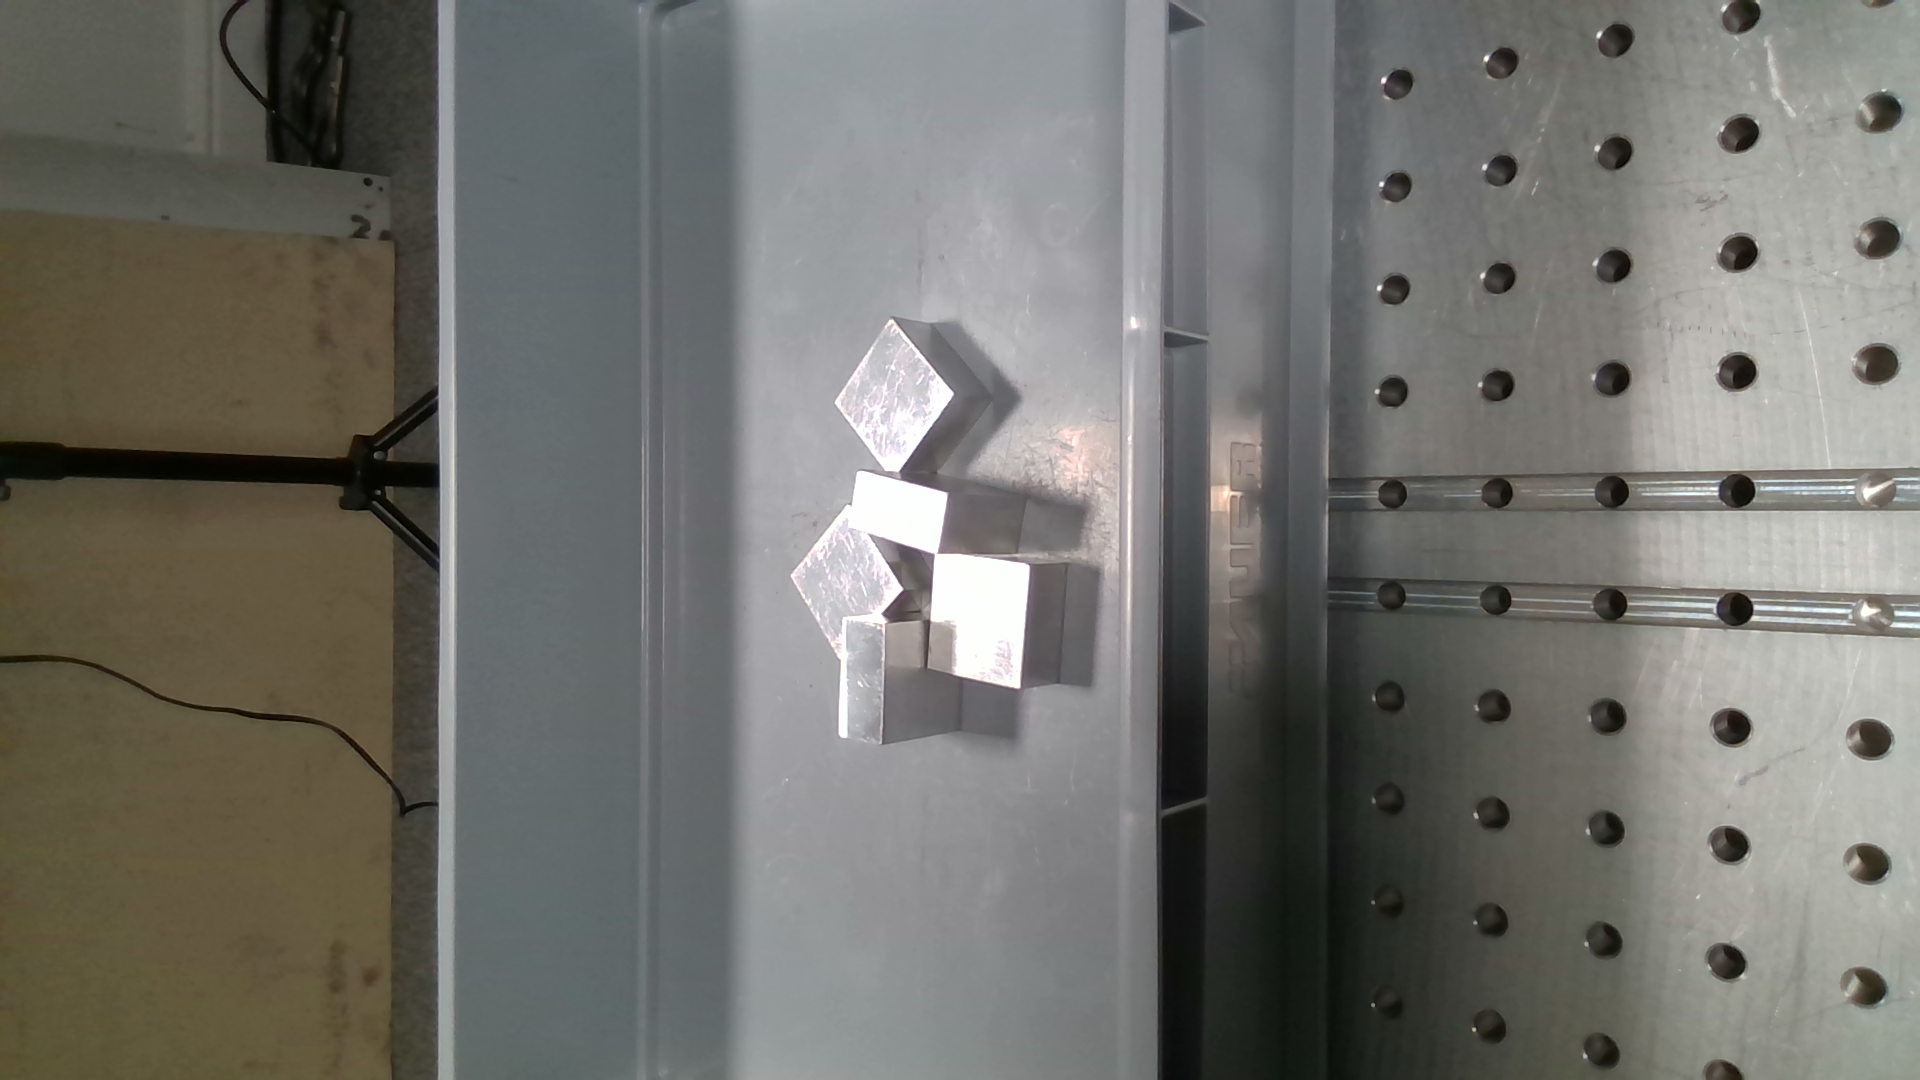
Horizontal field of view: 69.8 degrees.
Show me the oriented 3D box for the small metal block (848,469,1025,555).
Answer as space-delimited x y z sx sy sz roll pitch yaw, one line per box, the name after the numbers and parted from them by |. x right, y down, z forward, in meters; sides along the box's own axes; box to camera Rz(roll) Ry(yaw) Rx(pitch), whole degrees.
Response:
-0.010 -0.012 0.571 0.050 0.050 0.025 16 101 39 | small metal block

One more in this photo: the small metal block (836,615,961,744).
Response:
-0.025 0.057 0.585 0.025 0.050 0.050 4 93 40 | small metal block

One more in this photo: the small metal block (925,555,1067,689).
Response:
0.015 0.031 0.568 0.050 0.025 0.050 8 96 40 | small metal block

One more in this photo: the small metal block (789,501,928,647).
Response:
-0.043 0.018 0.616 0.050 0.025 0.050 -49 61 30 | small metal block

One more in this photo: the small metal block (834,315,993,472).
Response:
-0.021 -0.061 0.597 0.050 0.025 0.050 53 121 27 | small metal block
